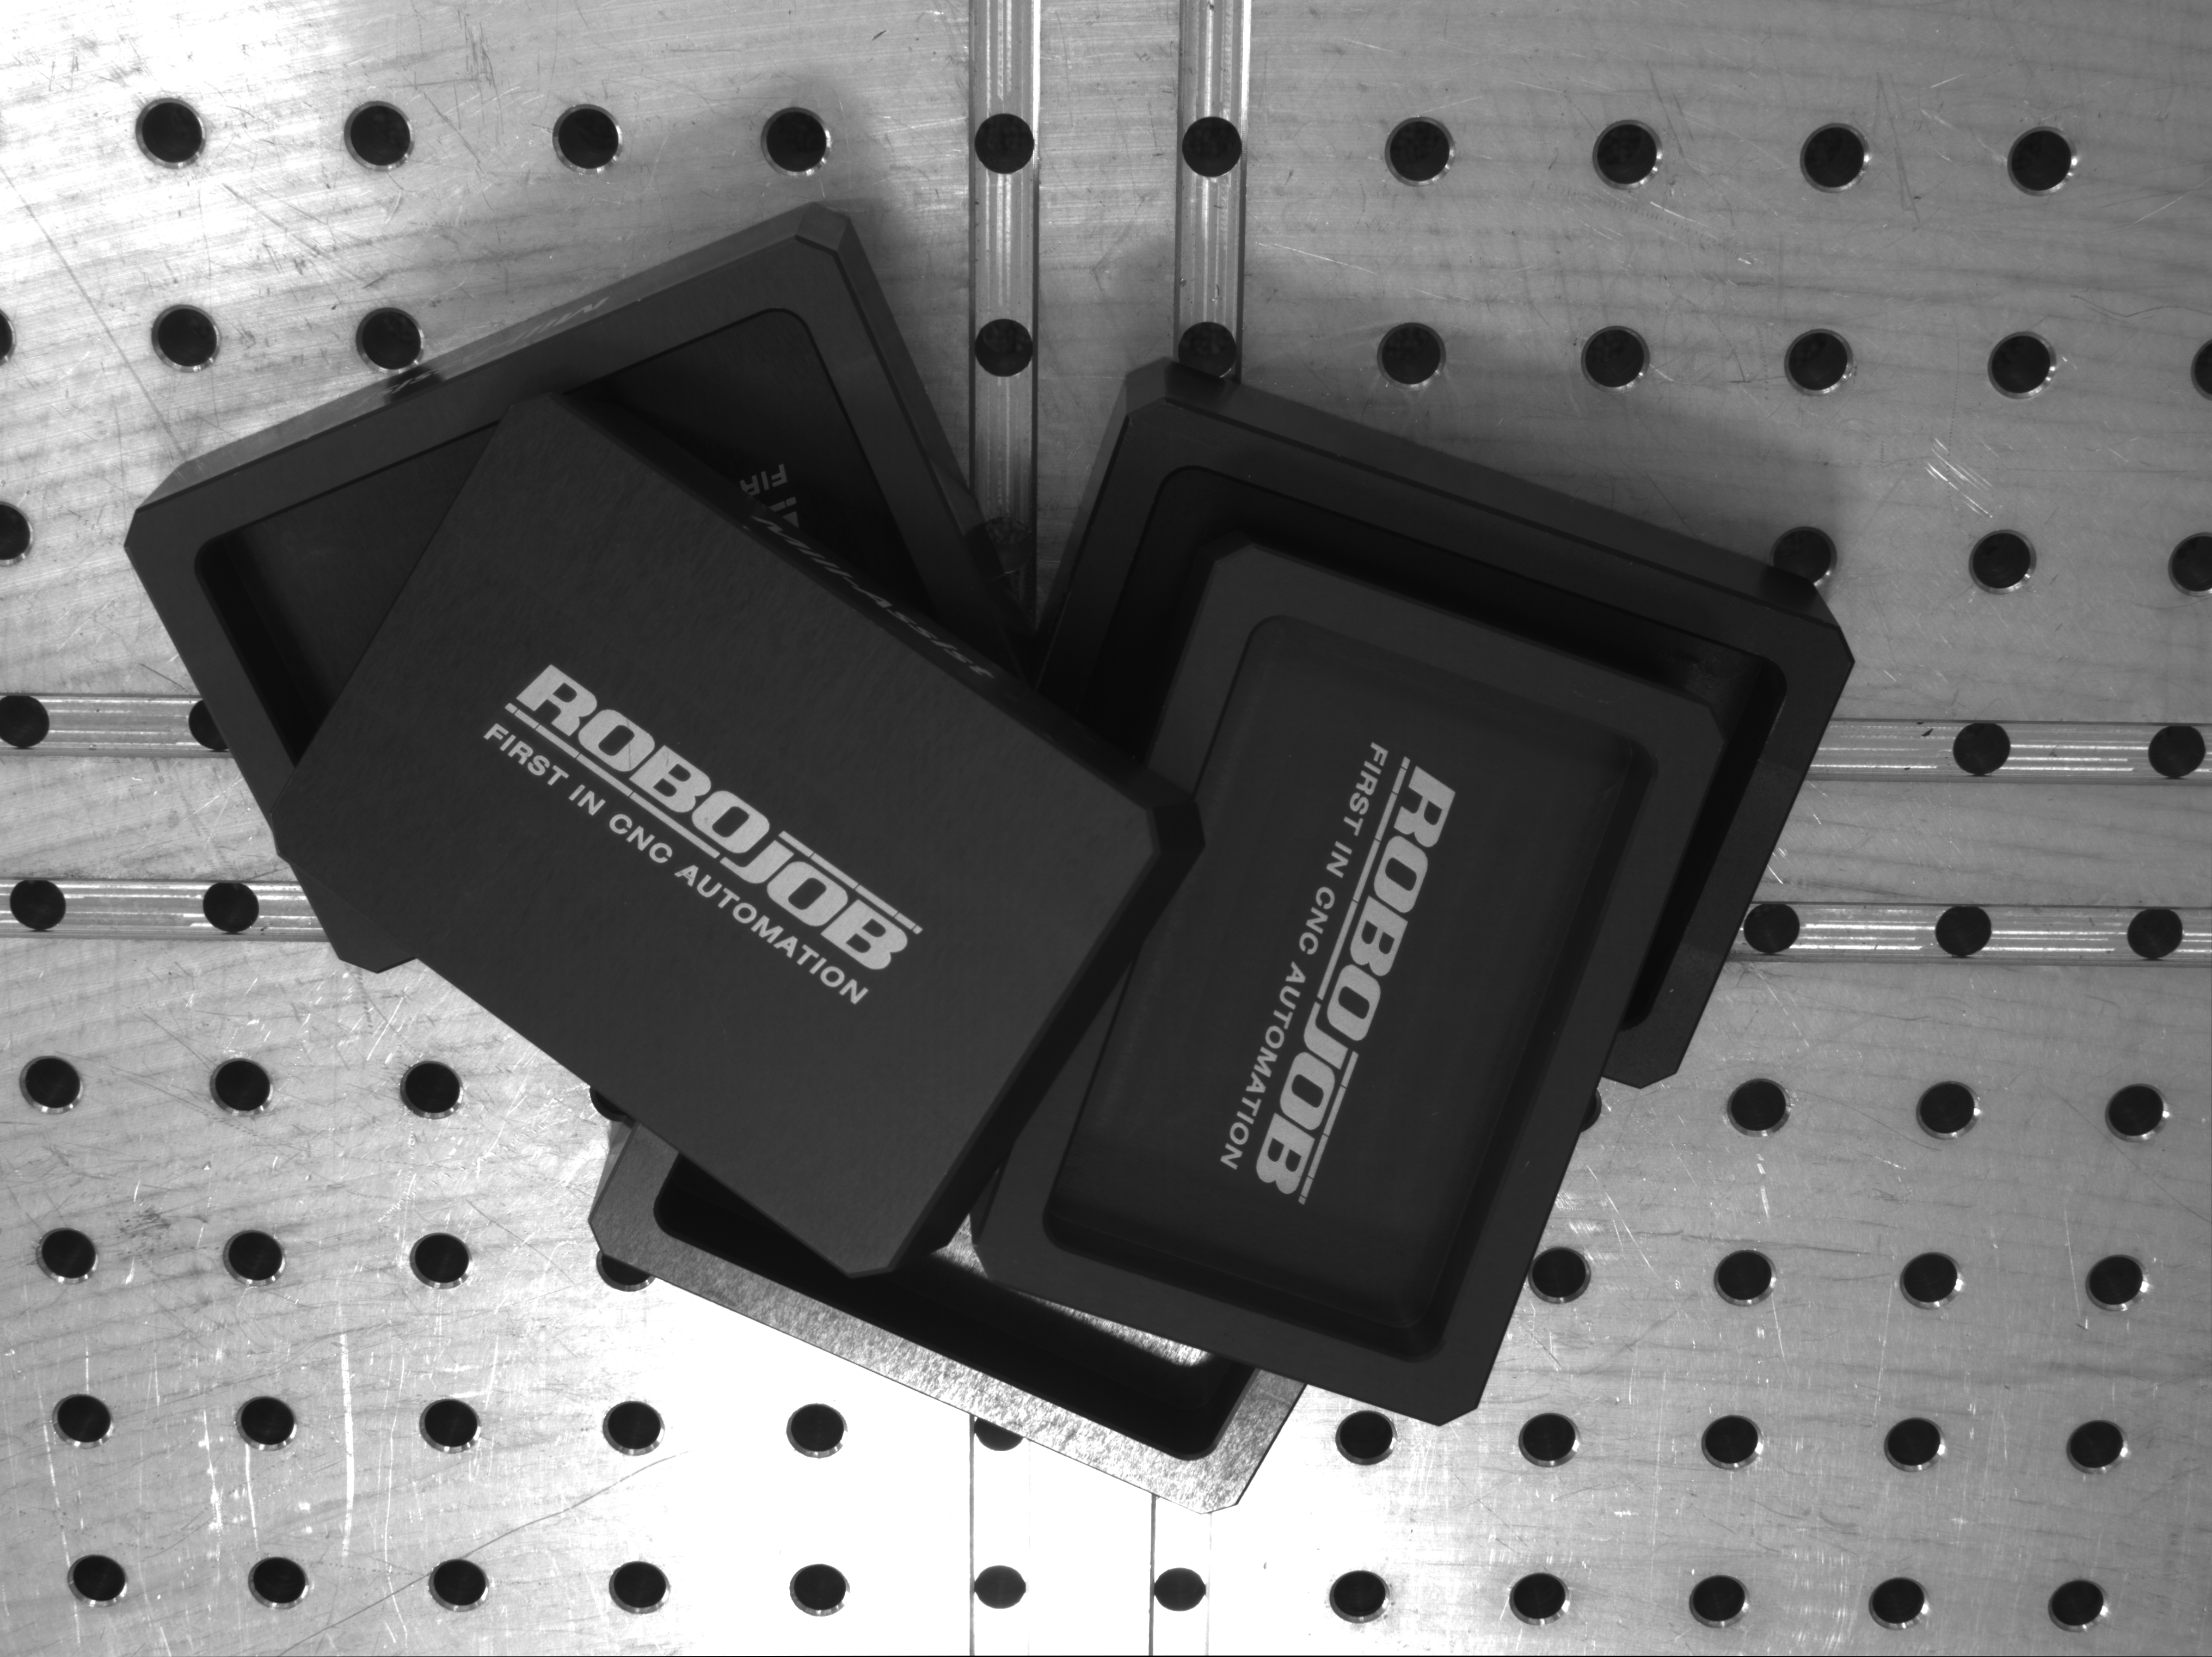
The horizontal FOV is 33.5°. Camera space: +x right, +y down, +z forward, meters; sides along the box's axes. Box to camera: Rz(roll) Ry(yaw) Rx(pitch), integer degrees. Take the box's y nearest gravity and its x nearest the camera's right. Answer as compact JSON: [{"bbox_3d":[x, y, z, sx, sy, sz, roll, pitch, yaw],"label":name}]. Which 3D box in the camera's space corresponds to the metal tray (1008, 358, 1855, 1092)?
[{"bbox_3d":[0.052,-0.017,0.637,0.130,0.030,0.090,18,109,-6],"label":"metal tray"}]

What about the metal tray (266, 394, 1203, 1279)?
[{"bbox_3d":[-0.062,0.000,0.601,0.130,0.030,0.090,35,100,11],"label":"metal tray"}]

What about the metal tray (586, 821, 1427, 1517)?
[{"bbox_3d":[-0.017,0.059,0.665,0.130,0.030,0.090,25,108,-9],"label":"metal tray"}]

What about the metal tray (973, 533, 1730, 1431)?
[{"bbox_3d":[0.040,0.026,0.620,0.090,0.030,0.130,19,97,-6],"label":"metal tray"}]

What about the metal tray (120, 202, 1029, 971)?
[{"bbox_3d":[-0.089,-0.040,0.629,0.130,0.030,0.090,-21,108,8],"label":"metal tray"}]
